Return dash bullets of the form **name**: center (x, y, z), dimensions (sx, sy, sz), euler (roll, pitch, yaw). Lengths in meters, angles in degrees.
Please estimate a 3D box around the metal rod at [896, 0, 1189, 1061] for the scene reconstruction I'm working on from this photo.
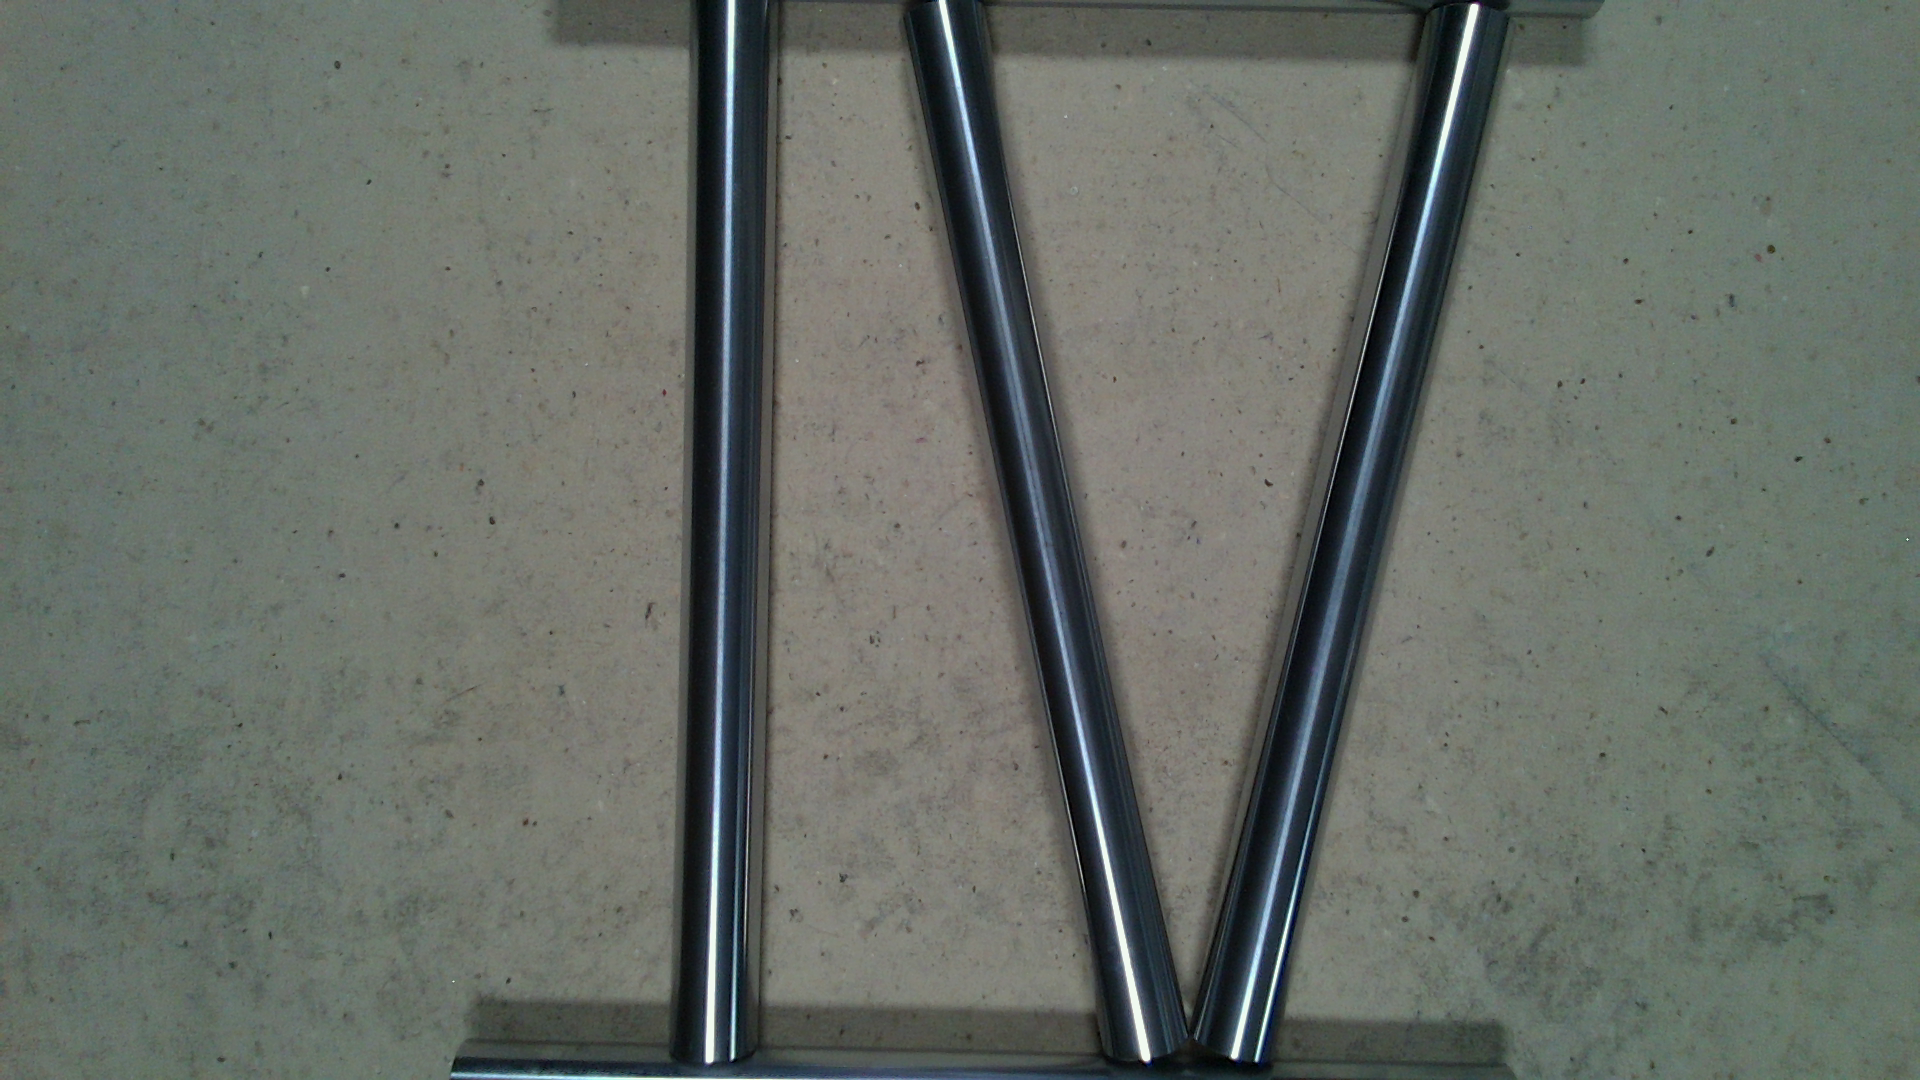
- **metal rod**: center (0.024, -0.003, 0.395), dimensions (0.025, 0.025, 0.300), euler (-11, 90, 0)

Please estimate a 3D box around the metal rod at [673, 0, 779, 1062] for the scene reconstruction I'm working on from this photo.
- **metal rod**: center (-0.067, -0.005, 0.394), dimensions (0.025, 0.025, 0.300), euler (1, 90, 0)

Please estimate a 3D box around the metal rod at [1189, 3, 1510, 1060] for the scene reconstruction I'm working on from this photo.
- **metal rod**: center (0.111, -0.002, 0.395), dimensions (0.025, 0.025, 0.300), euler (13, 90, 0)

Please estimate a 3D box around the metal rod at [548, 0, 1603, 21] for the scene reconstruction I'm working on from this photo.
- **metal rod**: center (0.032, -0.165, 0.395), dimensions (0.300, 0.025, 0.025), euler (1, 90, 0)

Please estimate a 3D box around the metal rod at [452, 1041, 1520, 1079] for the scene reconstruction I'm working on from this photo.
- **metal rod**: center (0.008, 0.160, 0.395), dimensions (0.300, 0.025, 0.025), euler (1, 90, 0)
